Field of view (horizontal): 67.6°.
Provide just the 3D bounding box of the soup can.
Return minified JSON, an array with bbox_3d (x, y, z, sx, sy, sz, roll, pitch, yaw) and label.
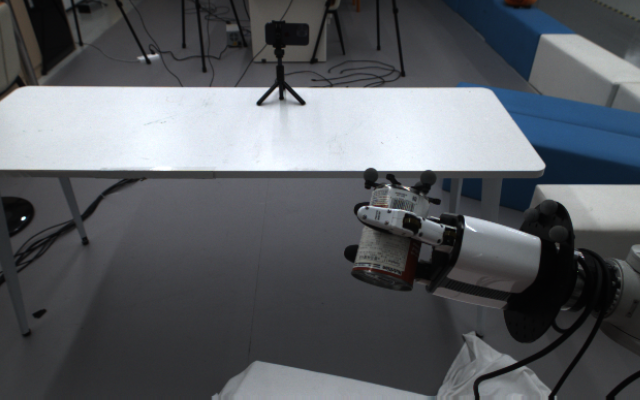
[{"bbox_3d":[0.081,0.041,0.535,0.067,0.067,0.101,11,72,13],"label":"soup can"}]
